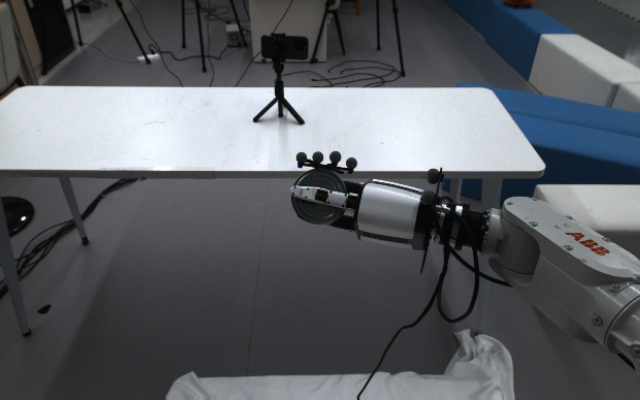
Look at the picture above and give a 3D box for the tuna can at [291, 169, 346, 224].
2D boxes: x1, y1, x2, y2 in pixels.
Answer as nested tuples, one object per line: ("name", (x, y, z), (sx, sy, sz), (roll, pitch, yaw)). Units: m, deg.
("tuna can", (0.001, -0.006, 0.742), (0.085, 0.085, 0.034), (11, -7, 13))
